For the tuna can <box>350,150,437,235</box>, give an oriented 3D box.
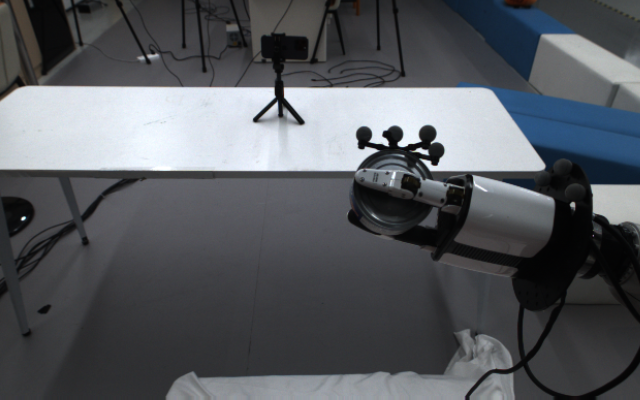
[{"bbox_3d":[0.077,-0.012,0.506,0.085,0.034,0.085,1,73,-3],"label":"tuna can"}]
